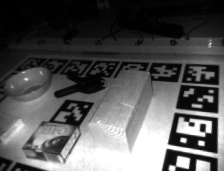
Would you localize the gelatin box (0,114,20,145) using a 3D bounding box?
[{"bbox_3d":[-0.320,0.120,0.612,0.088,0.030,0.073,11,46,28],"label":"gelatin box"}]

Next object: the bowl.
[{"bbox_3d":[-0.283,0.004,0.735,0.161,0.055,0.161,-8,42,8],"label":"bowl"}]

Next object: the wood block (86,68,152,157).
[{"bbox_3d":[0.026,0.056,0.537,0.089,0.092,0.207,8,43,24],"label":"wood block"}]

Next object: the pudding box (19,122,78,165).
[{"bbox_3d":[-0.154,0.140,0.533,0.112,0.039,0.090,3,45,23],"label":"pudding box"}]

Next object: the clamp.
[{"bbox_3d":[-0.119,-0.003,0.711,0.164,0.037,0.121,-1,40,13],"label":"clamp"}]
